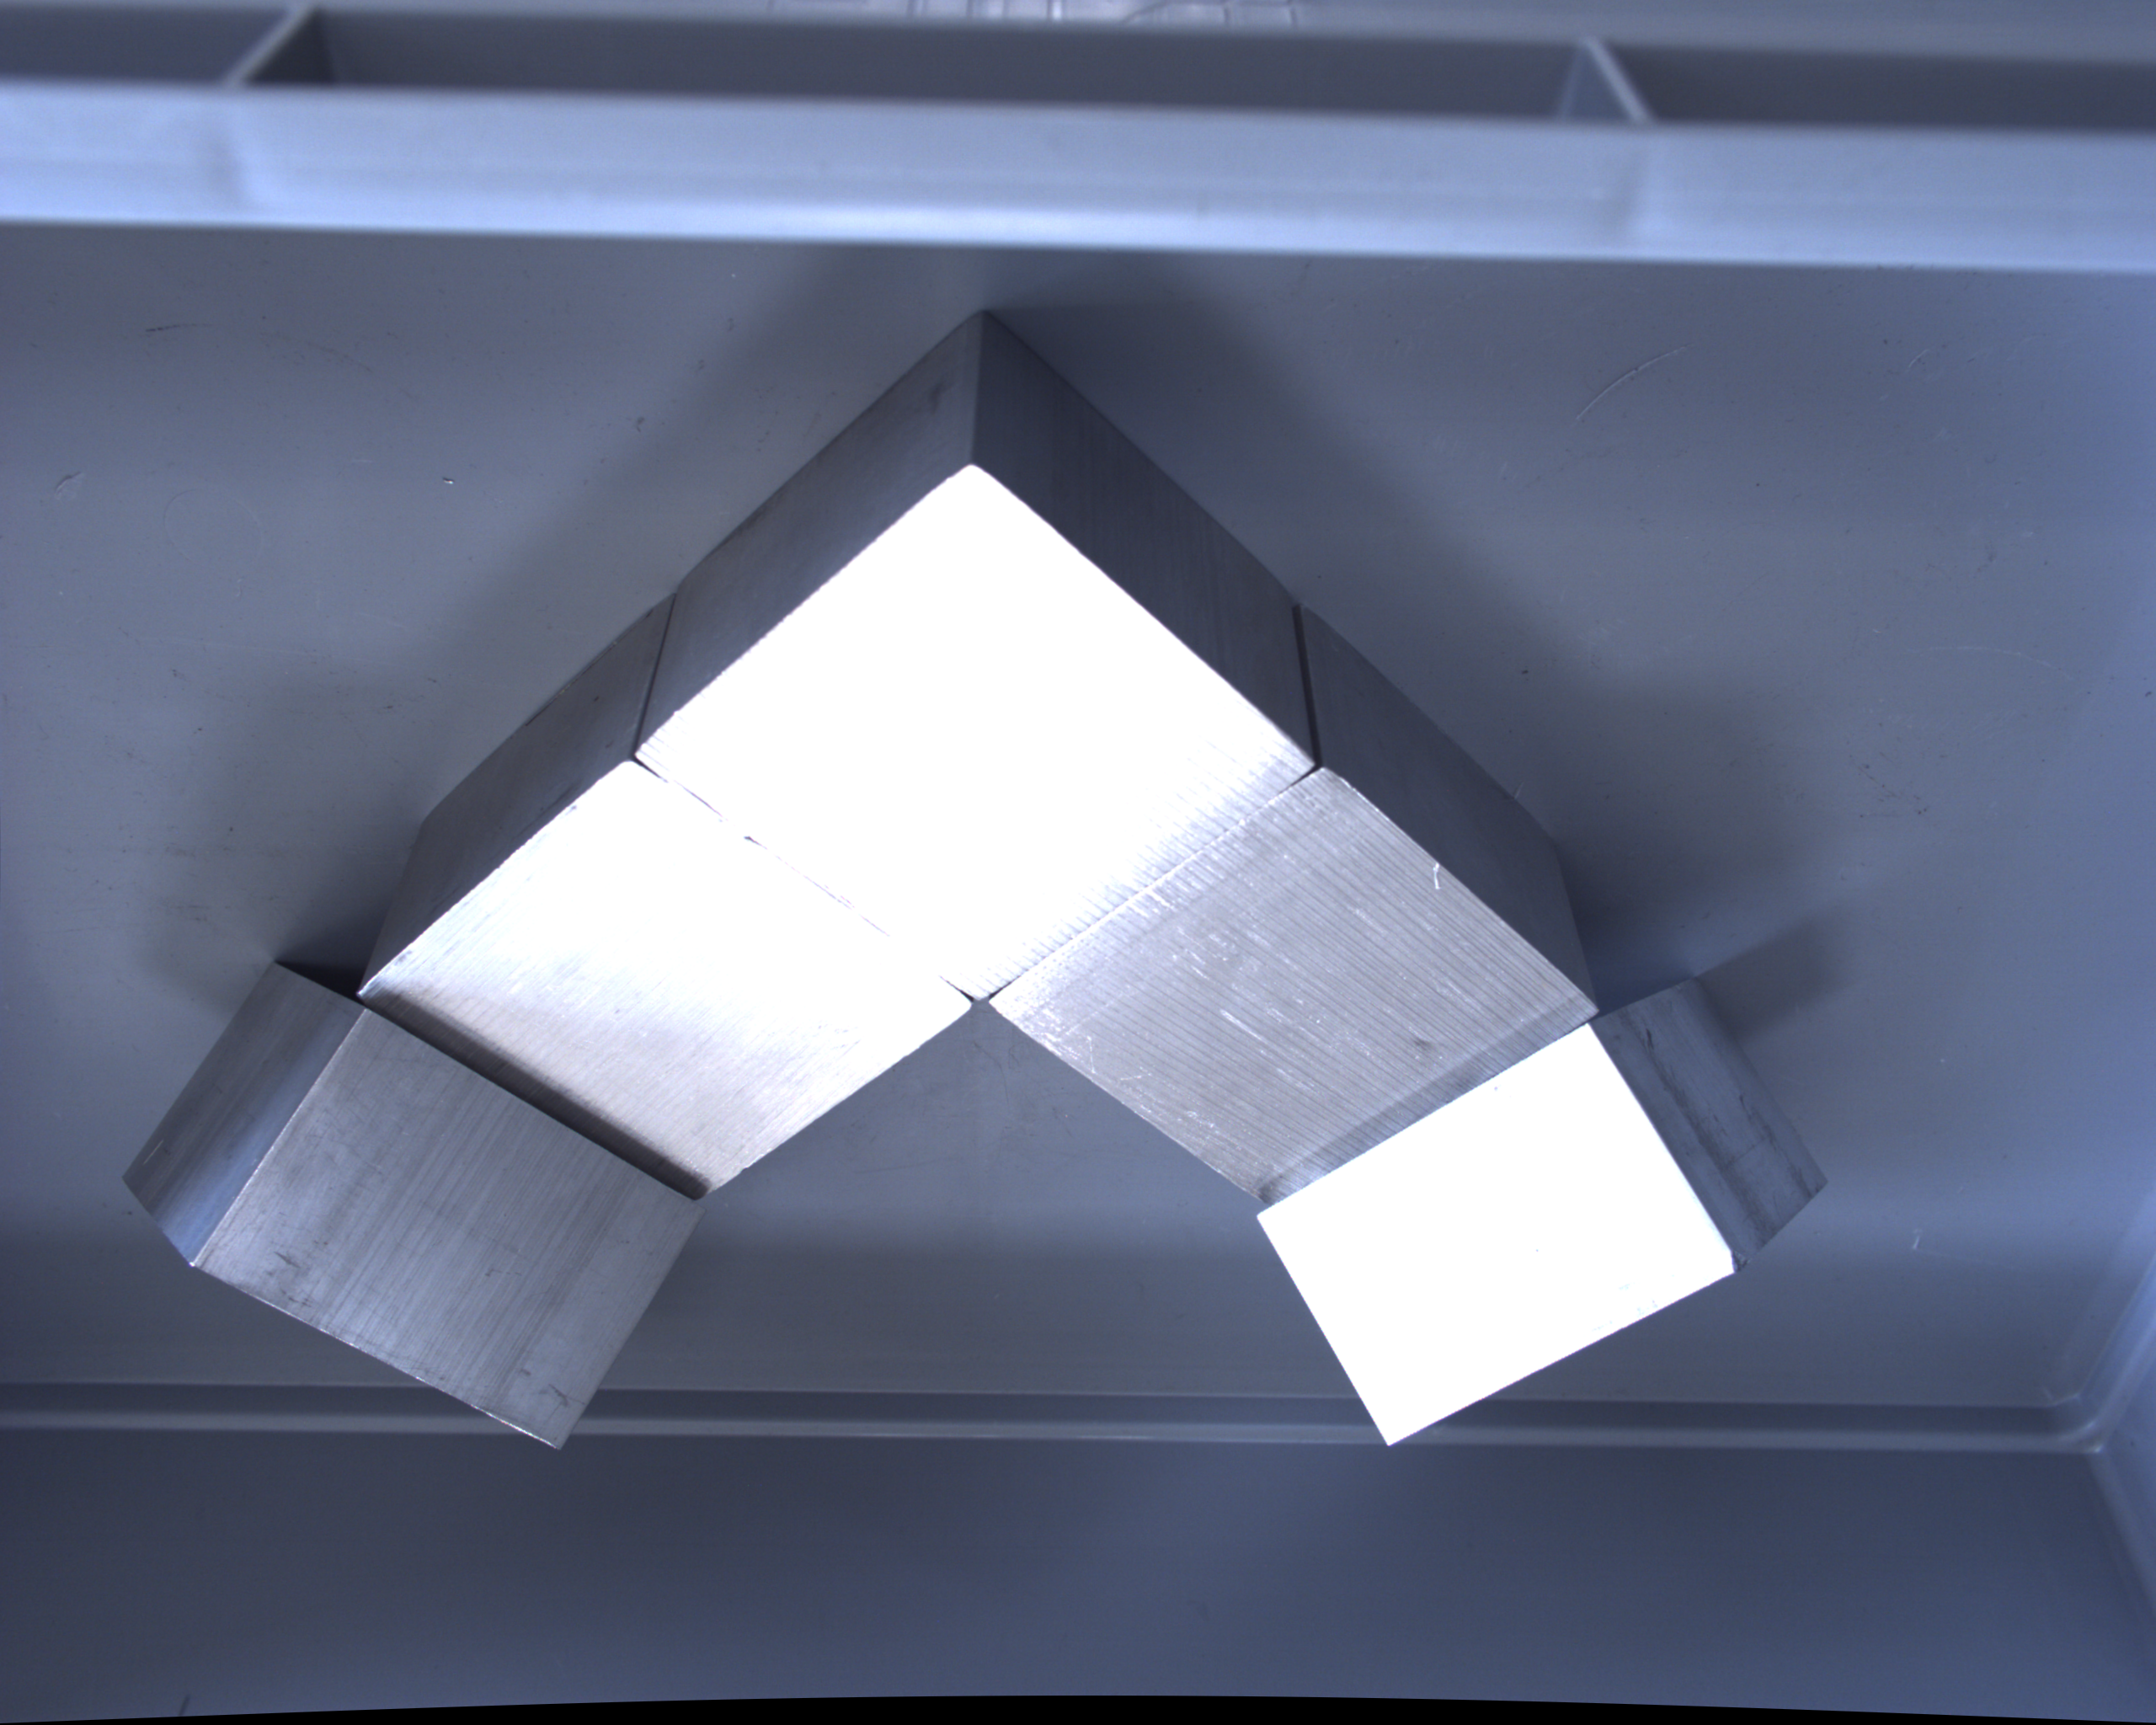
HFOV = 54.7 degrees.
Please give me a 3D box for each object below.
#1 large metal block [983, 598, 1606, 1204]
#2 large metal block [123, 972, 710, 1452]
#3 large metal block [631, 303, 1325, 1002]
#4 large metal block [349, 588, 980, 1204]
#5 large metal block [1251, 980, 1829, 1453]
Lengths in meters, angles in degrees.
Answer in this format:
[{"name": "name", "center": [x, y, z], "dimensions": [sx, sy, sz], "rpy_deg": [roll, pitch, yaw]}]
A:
[{"name": "large metal block", "center": [0.040, 0.010, 0.399], "dimensions": [0.080, 0.050, 0.080], "rpy_deg": [-36, 122, 26]}, {"name": "large metal block", "center": [-0.134, 0.068, 0.418], "dimensions": [0.080, 0.050, 0.080], "rpy_deg": [38, 163, -28]}, {"name": "large metal block", "center": [-0.016, -0.033, 0.361], "dimensions": [0.080, 0.050, 0.080], "rpy_deg": [-36, 122, 26]}, {"name": "large metal block", "center": [-0.075, 0.009, 0.397], "dimensions": [0.080, 0.050, 0.080], "rpy_deg": [-36, 122, 26]}, {"name": "large metal block", "center": [0.095, 0.069, 0.422], "dimensions": [0.080, 0.050, 0.080], "rpy_deg": [-36, 165, 26]}]
